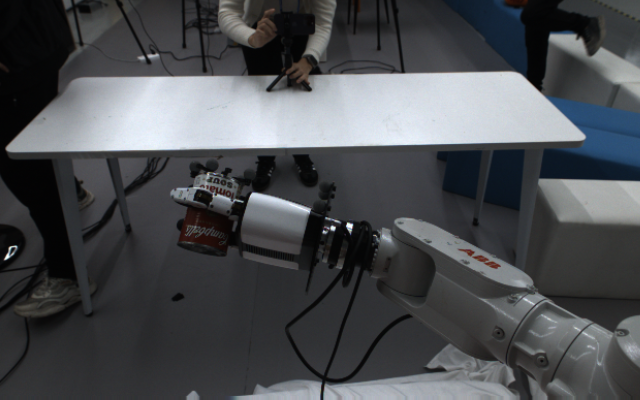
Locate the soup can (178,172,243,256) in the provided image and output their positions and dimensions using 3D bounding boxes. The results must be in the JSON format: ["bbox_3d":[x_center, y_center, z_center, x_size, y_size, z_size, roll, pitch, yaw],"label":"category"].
[{"bbox_3d":[-0.149,0.021,0.661,0.067,0.067,0.101,8,72,8],"label":"soup can"}]
